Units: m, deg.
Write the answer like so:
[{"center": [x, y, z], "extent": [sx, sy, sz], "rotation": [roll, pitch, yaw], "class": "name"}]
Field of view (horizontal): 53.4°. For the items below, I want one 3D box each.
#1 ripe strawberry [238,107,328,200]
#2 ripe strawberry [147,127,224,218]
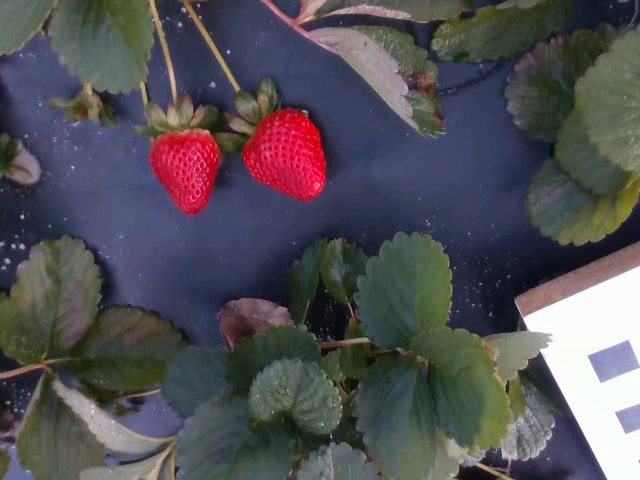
[{"center": [-0.020, -0.046, 0.374], "extent": [0.058, 0.064, 0.051], "rotation": [-48, -19, 20], "class": "ripe strawberry"}, {"center": [-0.081, -0.042, 0.386], "extent": [0.048, 0.056, 0.041], "rotation": [-14, 0, 10], "class": "ripe strawberry"}]
